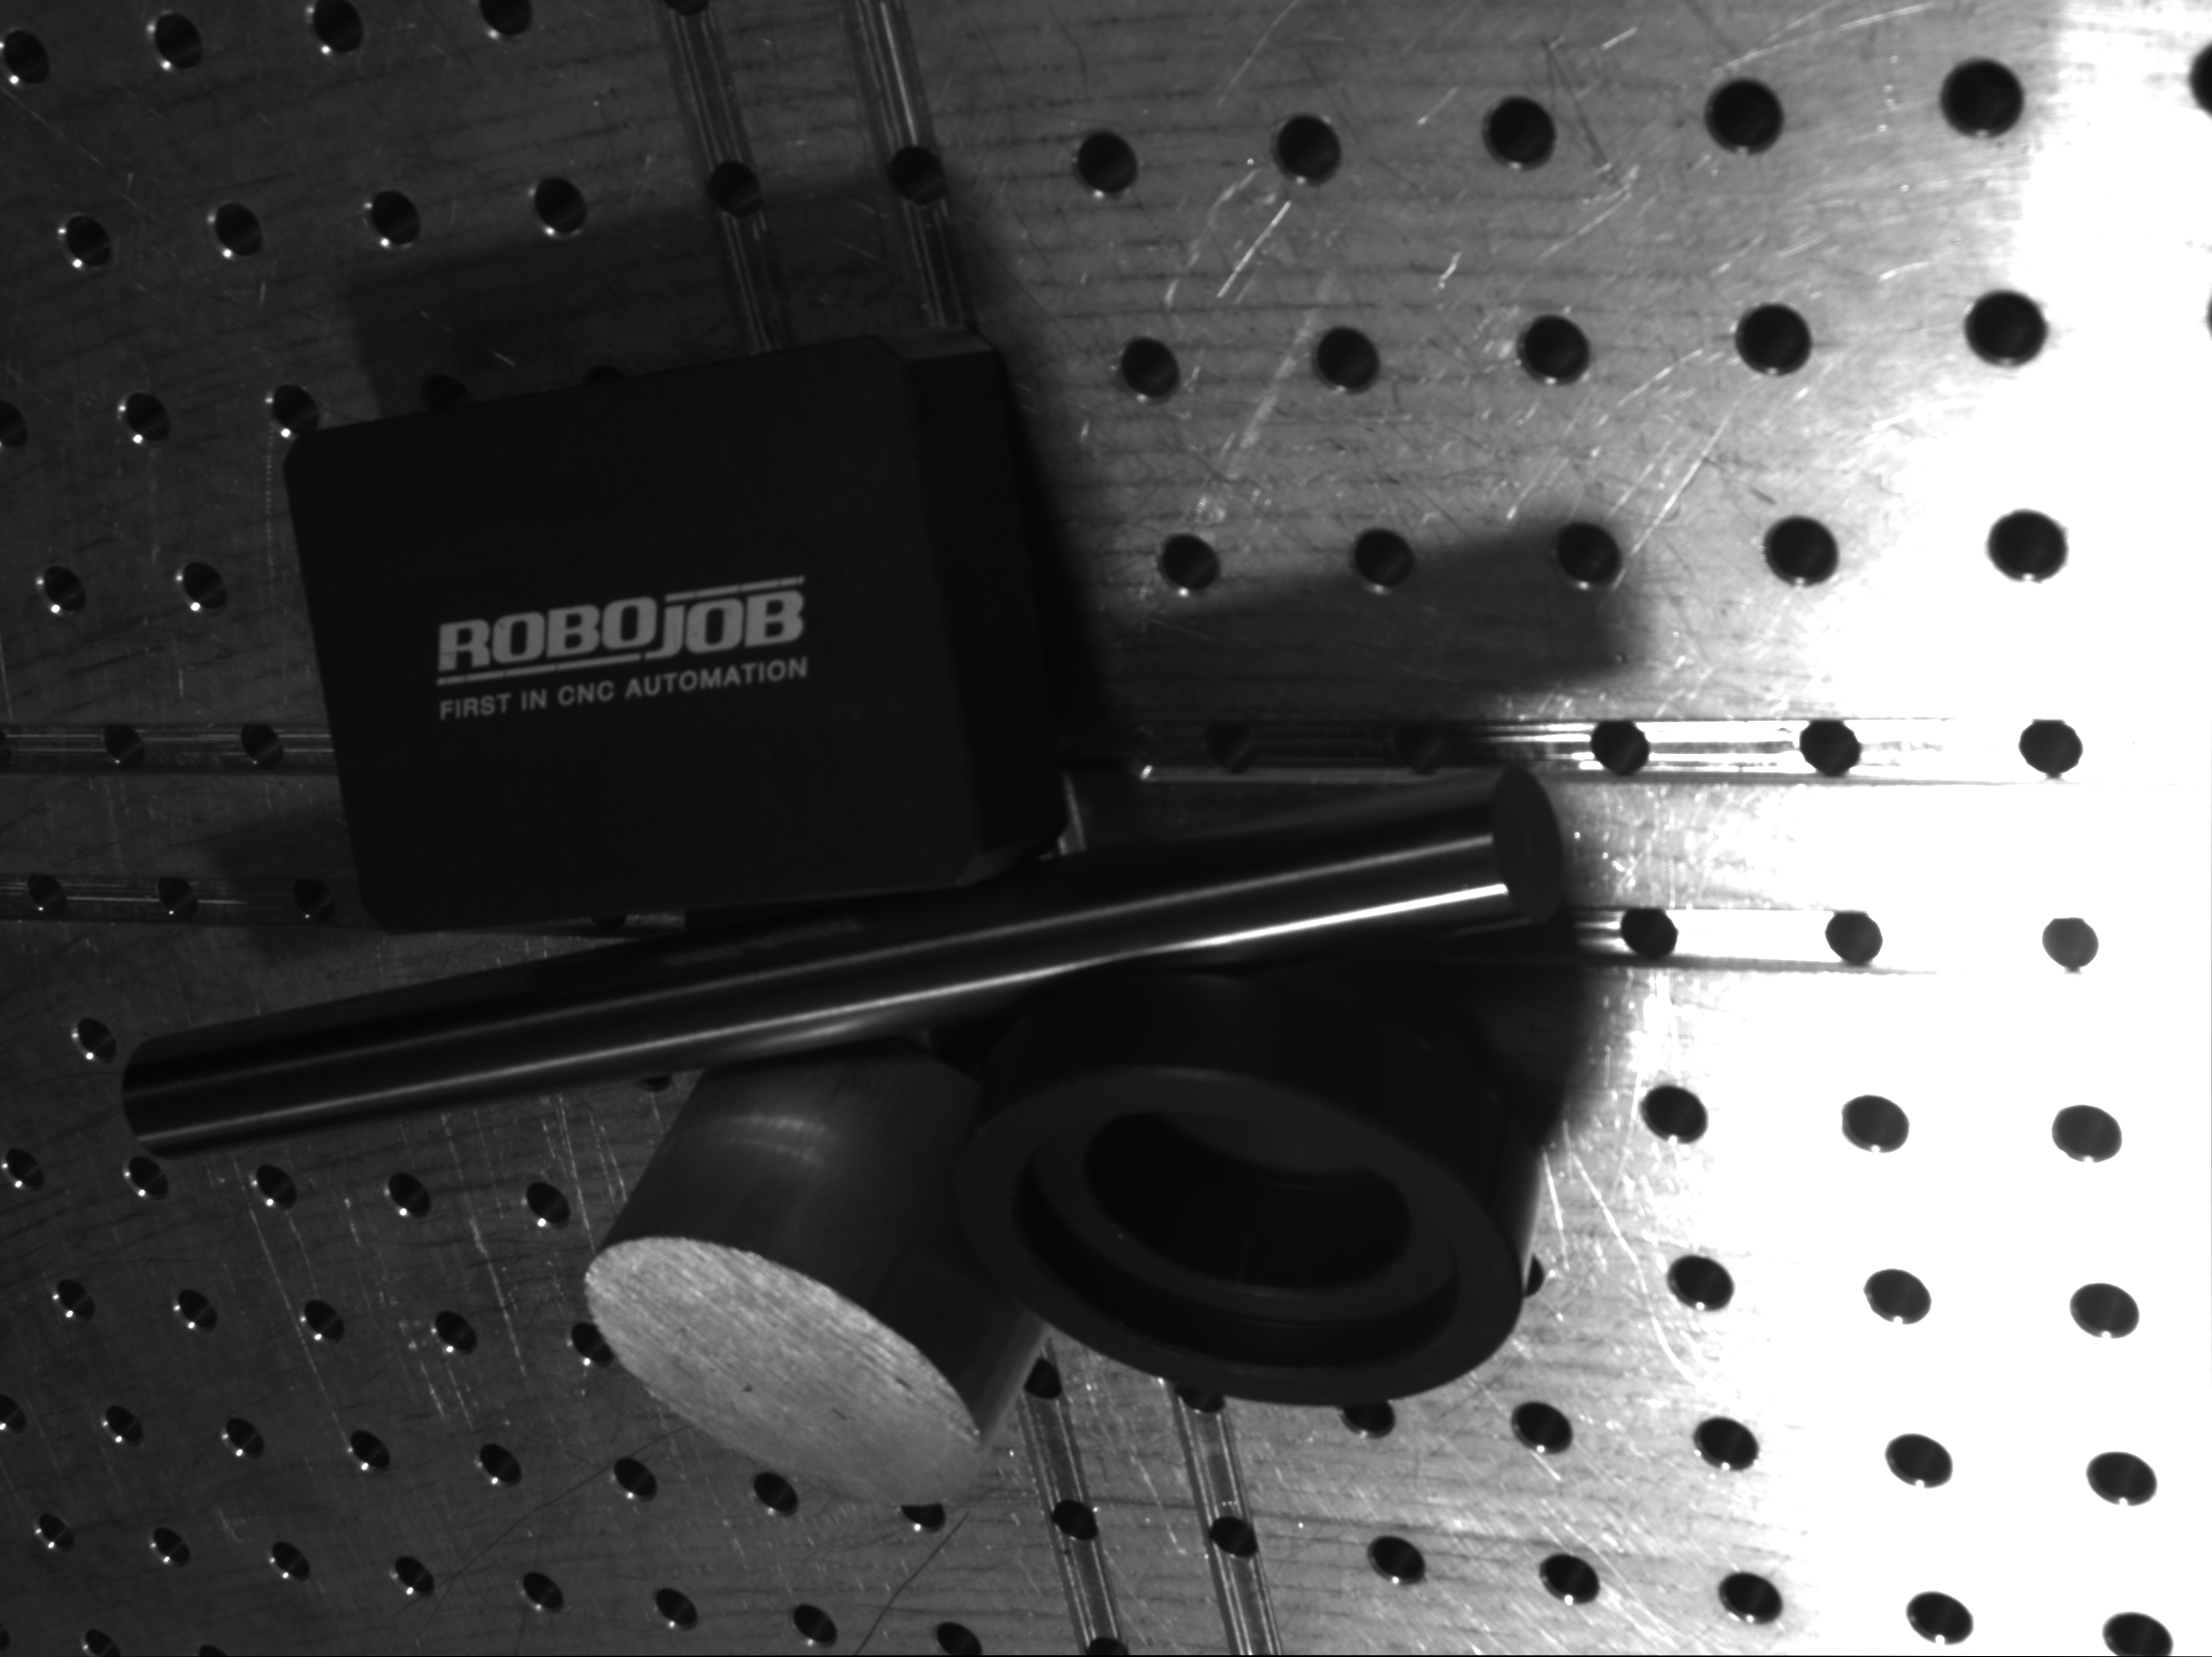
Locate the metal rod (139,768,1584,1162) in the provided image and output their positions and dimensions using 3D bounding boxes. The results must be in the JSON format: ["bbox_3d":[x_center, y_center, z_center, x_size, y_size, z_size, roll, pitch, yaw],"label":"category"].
[{"bbox_3d":[-0.057,0.028,0.647,0.299,0.025,0.025,-11,113,31],"label":"metal rod"}]

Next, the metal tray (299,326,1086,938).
[{"bbox_3d":[-0.073,-0.032,0.630,0.130,0.030,0.090,-5,97,28],"label":"metal tray"}]

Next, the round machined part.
[{"bbox_3d":[0.029,0.055,0.627,0.098,0.042,0.098,10,143,8],"label":"round machined part"}]

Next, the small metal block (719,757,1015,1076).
[{"bbox_3d":[-0.044,0.019,0.678,0.050,0.025,0.050,16,124,17],"label":"small metal block"}]

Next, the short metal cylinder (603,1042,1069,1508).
[{"bbox_3d":[-0.045,0.081,0.675,0.080,0.050,0.080,18,144,14],"label":"short metal cylinder"}]
